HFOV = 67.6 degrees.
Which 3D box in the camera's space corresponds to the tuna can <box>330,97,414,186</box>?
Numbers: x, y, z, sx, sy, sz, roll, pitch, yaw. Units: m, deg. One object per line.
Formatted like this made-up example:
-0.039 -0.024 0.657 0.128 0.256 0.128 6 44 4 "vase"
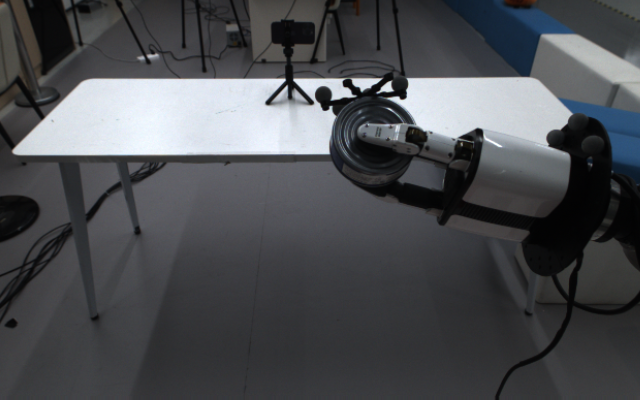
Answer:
0.056 -0.061 0.480 0.085 0.034 0.085 0 72 -1 "tuna can"
